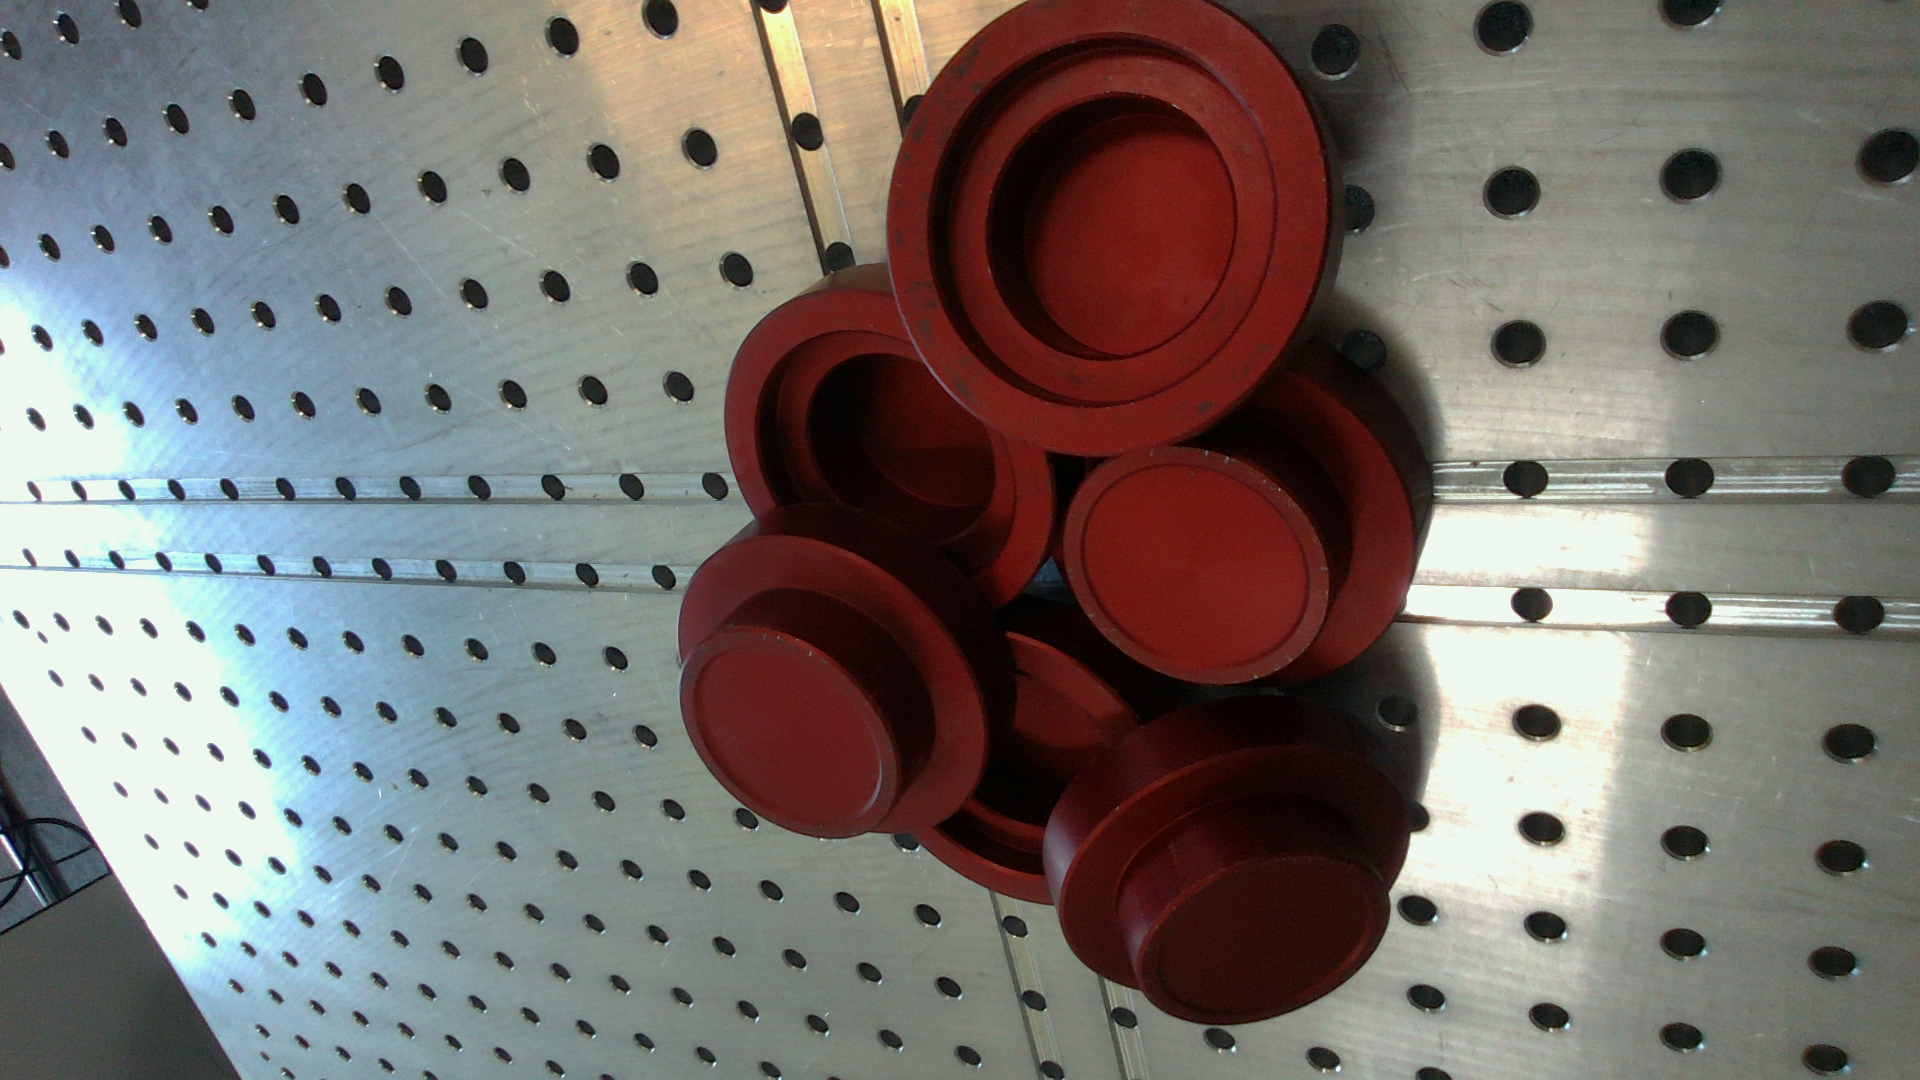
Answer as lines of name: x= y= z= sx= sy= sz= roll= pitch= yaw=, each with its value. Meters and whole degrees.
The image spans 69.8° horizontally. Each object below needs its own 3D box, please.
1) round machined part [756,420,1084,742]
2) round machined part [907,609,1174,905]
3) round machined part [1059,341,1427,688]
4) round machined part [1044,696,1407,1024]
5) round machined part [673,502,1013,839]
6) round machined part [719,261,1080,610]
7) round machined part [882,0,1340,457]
round machined part: x=-0.009 y=0.010 z=0.395 sx=0.098 sy=0.042 sz=0.098 roll=13 pitch=124 yaw=21
round machined part: x=0.022 y=0.057 z=0.408 sx=0.098 sy=0.042 sz=0.098 roll=13 pitch=124 yaw=21
round machined part: x=0.064 y=-0.003 z=0.349 sx=0.098 sy=0.042 sz=0.098 roll=13 pitch=124 yaw=21
round machined part: x=0.074 y=0.092 z=0.370 sx=0.098 sy=0.042 sz=0.098 roll=-6 pitch=127 yaw=-8
round machined part: x=-0.038 y=0.042 z=0.377 sx=0.098 sy=0.042 sz=0.098 roll=13 pitch=124 yaw=21
round machined part: x=-0.013 y=-0.029 z=0.374 sx=0.098 sy=0.042 sz=0.098 roll=13 pitch=124 yaw=21
round machined part: x=0.035 y=-0.069 z=0.309 sx=0.098 sy=0.042 sz=0.098 roll=3 pitch=99 yaw=22
